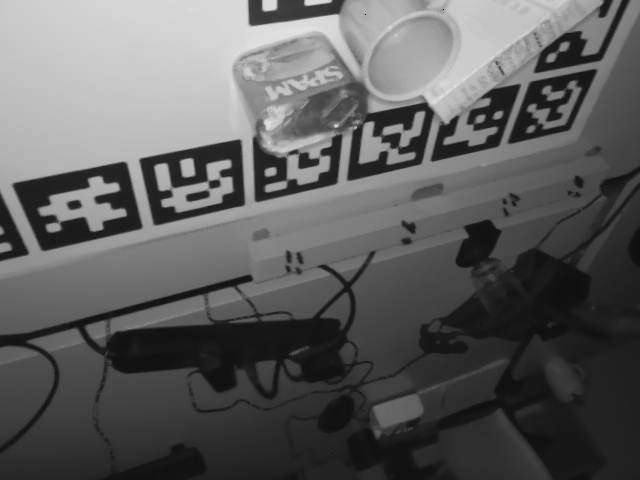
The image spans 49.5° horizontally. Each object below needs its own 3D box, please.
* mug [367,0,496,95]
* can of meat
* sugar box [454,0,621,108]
[{"bbox_3d":[0.096,-0.194,0.590,0.094,0.081,0.115,5,132,-34],"label":"mug"},{"bbox_3d":[-0.004,-0.145,0.605,0.102,0.084,0.057,-18,145,-8],"label":"can of meat"},{"bbox_3d":[0.182,-0.208,0.629,0.175,0.093,0.045,-35,144,16],"label":"sugar box"}]
